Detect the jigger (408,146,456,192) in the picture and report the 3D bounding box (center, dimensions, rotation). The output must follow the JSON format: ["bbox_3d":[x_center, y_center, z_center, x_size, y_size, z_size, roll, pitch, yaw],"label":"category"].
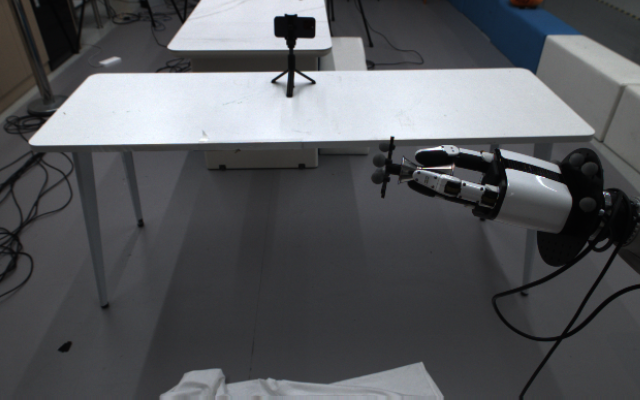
[{"bbox_3d":[0.149,-0.040,0.655,0.071,0.043,0.043,9,35,9],"label":"jigger"}]
